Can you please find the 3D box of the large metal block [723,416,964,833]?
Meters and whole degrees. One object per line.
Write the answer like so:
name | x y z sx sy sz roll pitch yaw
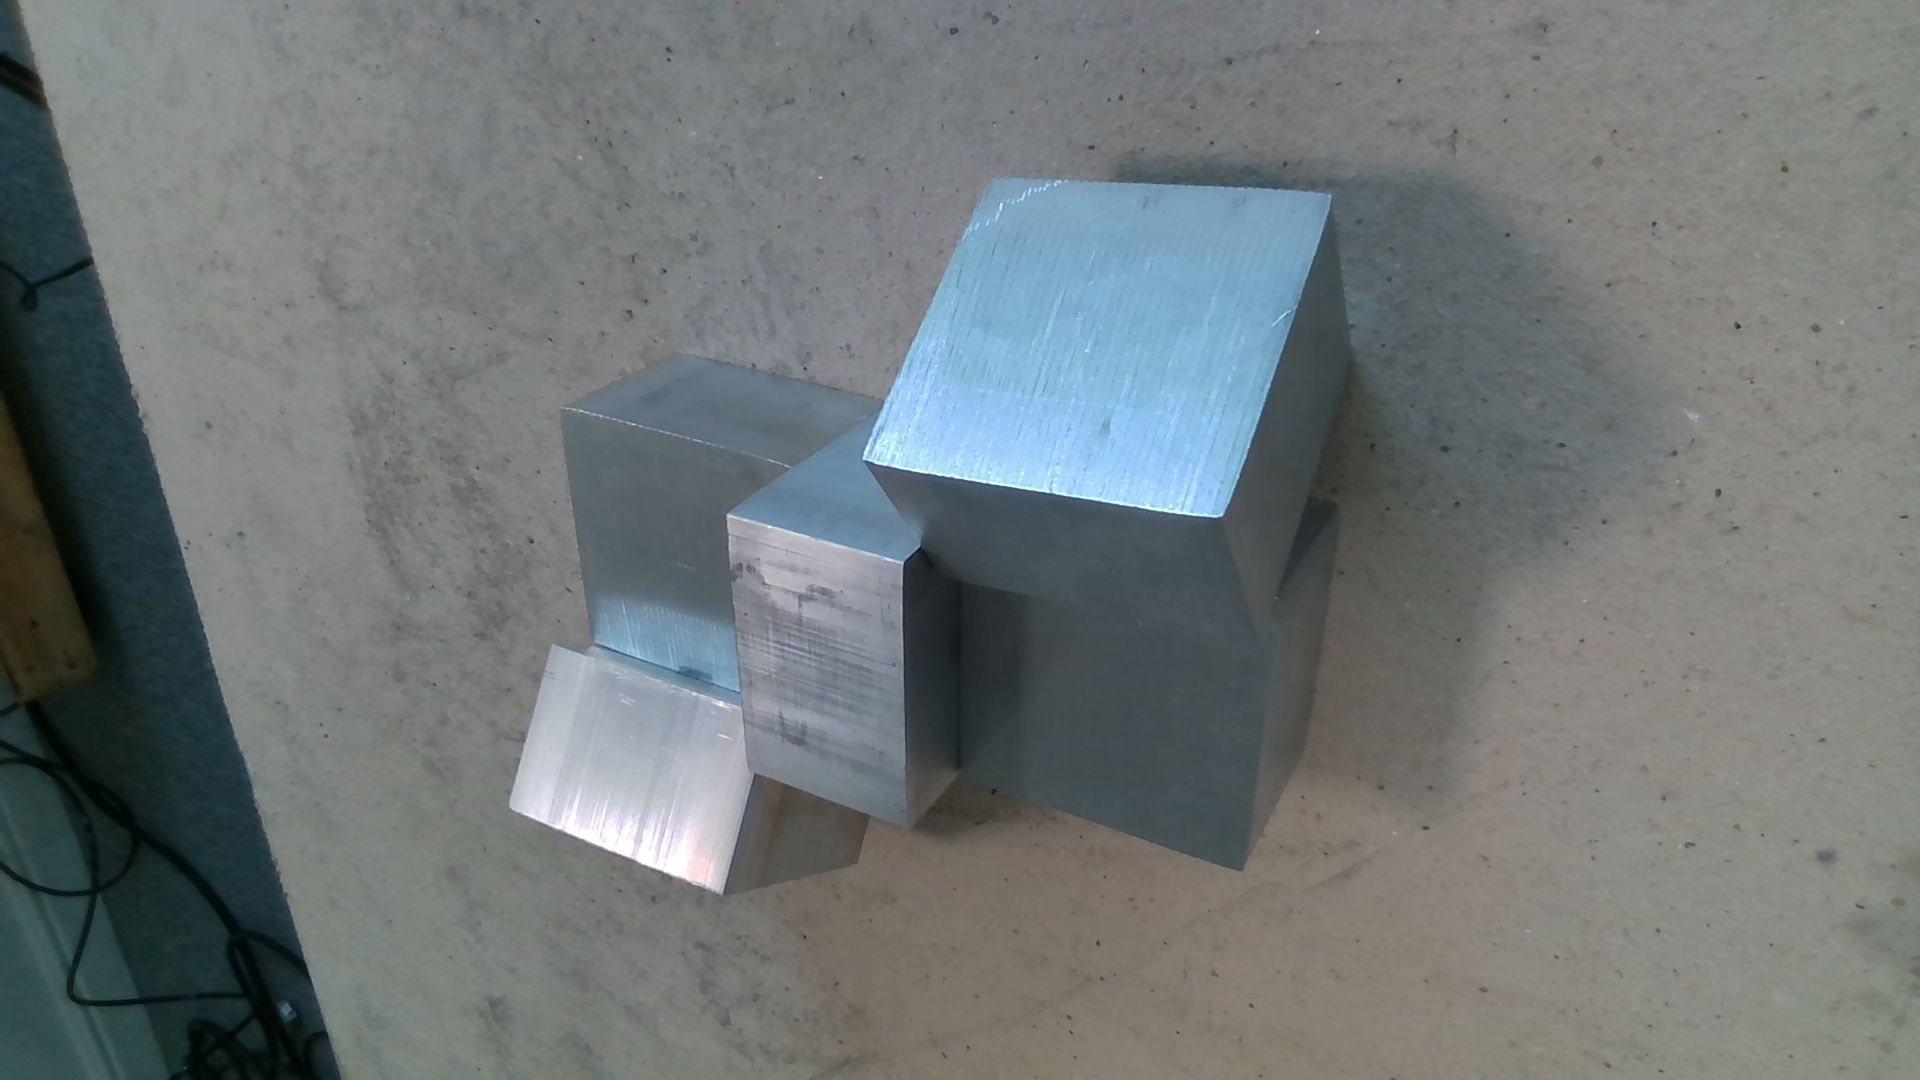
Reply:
large metal block | -0.017 0.017 0.374 0.050 0.080 0.080 15 122 25

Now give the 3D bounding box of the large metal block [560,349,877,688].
large metal block | -0.067 -0.004 0.412 0.080 0.050 0.080 16 122 25

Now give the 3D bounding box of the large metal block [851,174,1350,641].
large metal block | 0.035 -0.032 0.306 0.080 0.080 0.050 11 154 27

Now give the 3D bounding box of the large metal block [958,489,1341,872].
large metal block | 0.047 0.028 0.357 0.080 0.050 0.080 15 121 24

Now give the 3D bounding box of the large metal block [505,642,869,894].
large metal block | -0.078 0.068 0.430 0.080 0.080 0.050 15 90 25
